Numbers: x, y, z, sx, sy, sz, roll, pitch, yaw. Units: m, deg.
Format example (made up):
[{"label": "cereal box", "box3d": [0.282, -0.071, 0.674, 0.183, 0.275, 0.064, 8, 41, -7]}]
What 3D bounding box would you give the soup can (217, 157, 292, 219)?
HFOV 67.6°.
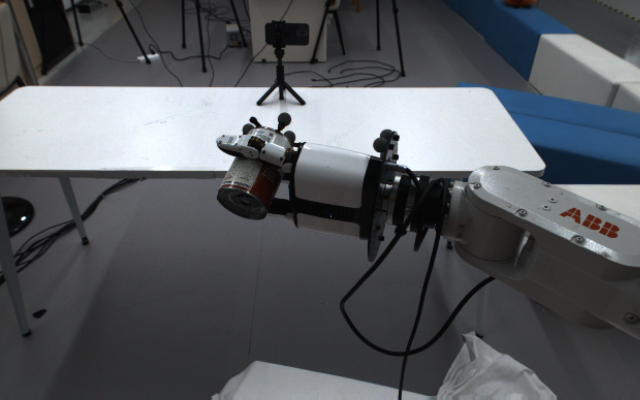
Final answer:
[{"label": "soup can", "box3d": [-0.081, -0.036, 0.618, 0.067, 0.067, 0.101, 12, 59, 14]}]
